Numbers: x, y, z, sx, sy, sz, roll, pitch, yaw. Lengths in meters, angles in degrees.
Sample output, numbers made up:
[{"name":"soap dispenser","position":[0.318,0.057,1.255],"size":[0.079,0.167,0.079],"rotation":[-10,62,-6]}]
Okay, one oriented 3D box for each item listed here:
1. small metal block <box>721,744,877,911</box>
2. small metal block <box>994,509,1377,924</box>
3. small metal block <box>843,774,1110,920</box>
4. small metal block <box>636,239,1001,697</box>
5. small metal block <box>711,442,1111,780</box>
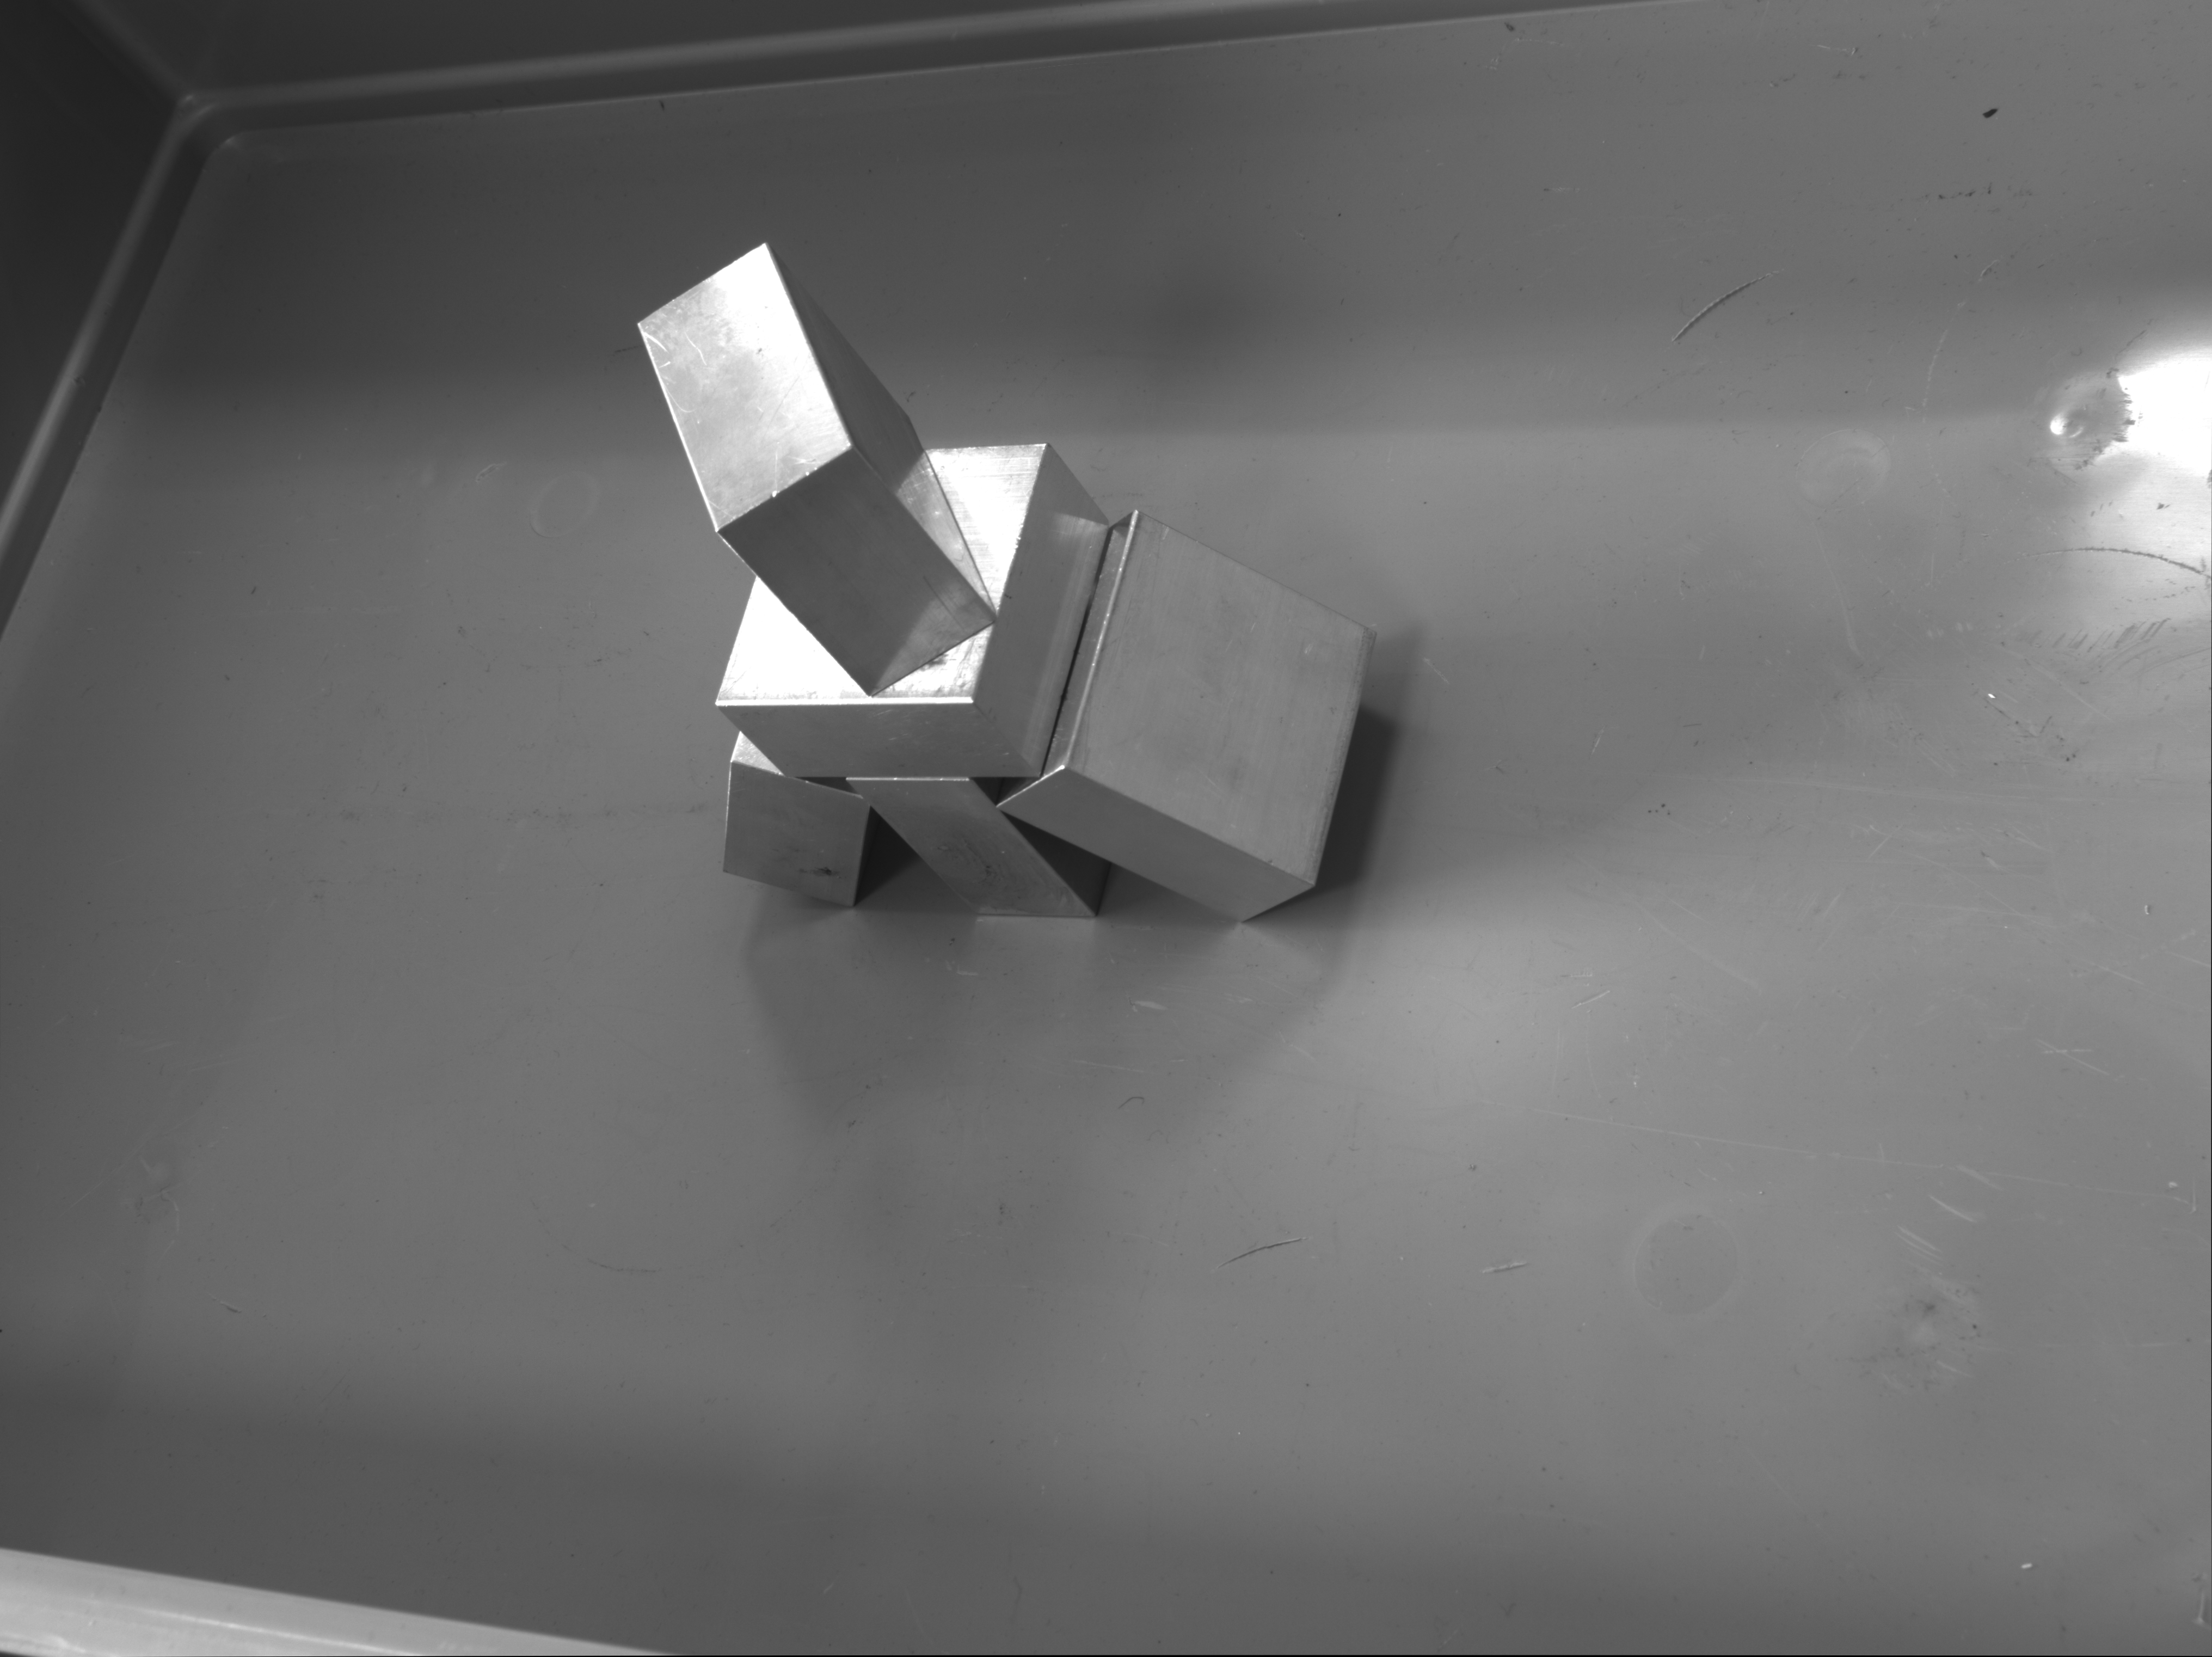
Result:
[{"name":"small metal block","position":[-0.050,-0.020,0.662],"size":[0.025,0.050,0.050],"rotation":[16,65,-1]},{"name":"small metal block","position":[0.014,-0.019,0.628],"size":[0.025,0.050,0.050],"rotation":[-28,42,56]},{"name":"small metal block","position":[-0.017,-0.018,0.647],"size":[0.025,0.050,0.050],"rotation":[1,61,29]},{"name":"small metal block","position":[-0.046,-0.058,0.589],"size":[0.025,0.050,0.050],"rotation":[-31,51,9]},{"name":"small metal block","position":[-0.032,-0.036,0.617],"size":[0.050,0.025,0.050],"rotation":[1,61,29]}]
